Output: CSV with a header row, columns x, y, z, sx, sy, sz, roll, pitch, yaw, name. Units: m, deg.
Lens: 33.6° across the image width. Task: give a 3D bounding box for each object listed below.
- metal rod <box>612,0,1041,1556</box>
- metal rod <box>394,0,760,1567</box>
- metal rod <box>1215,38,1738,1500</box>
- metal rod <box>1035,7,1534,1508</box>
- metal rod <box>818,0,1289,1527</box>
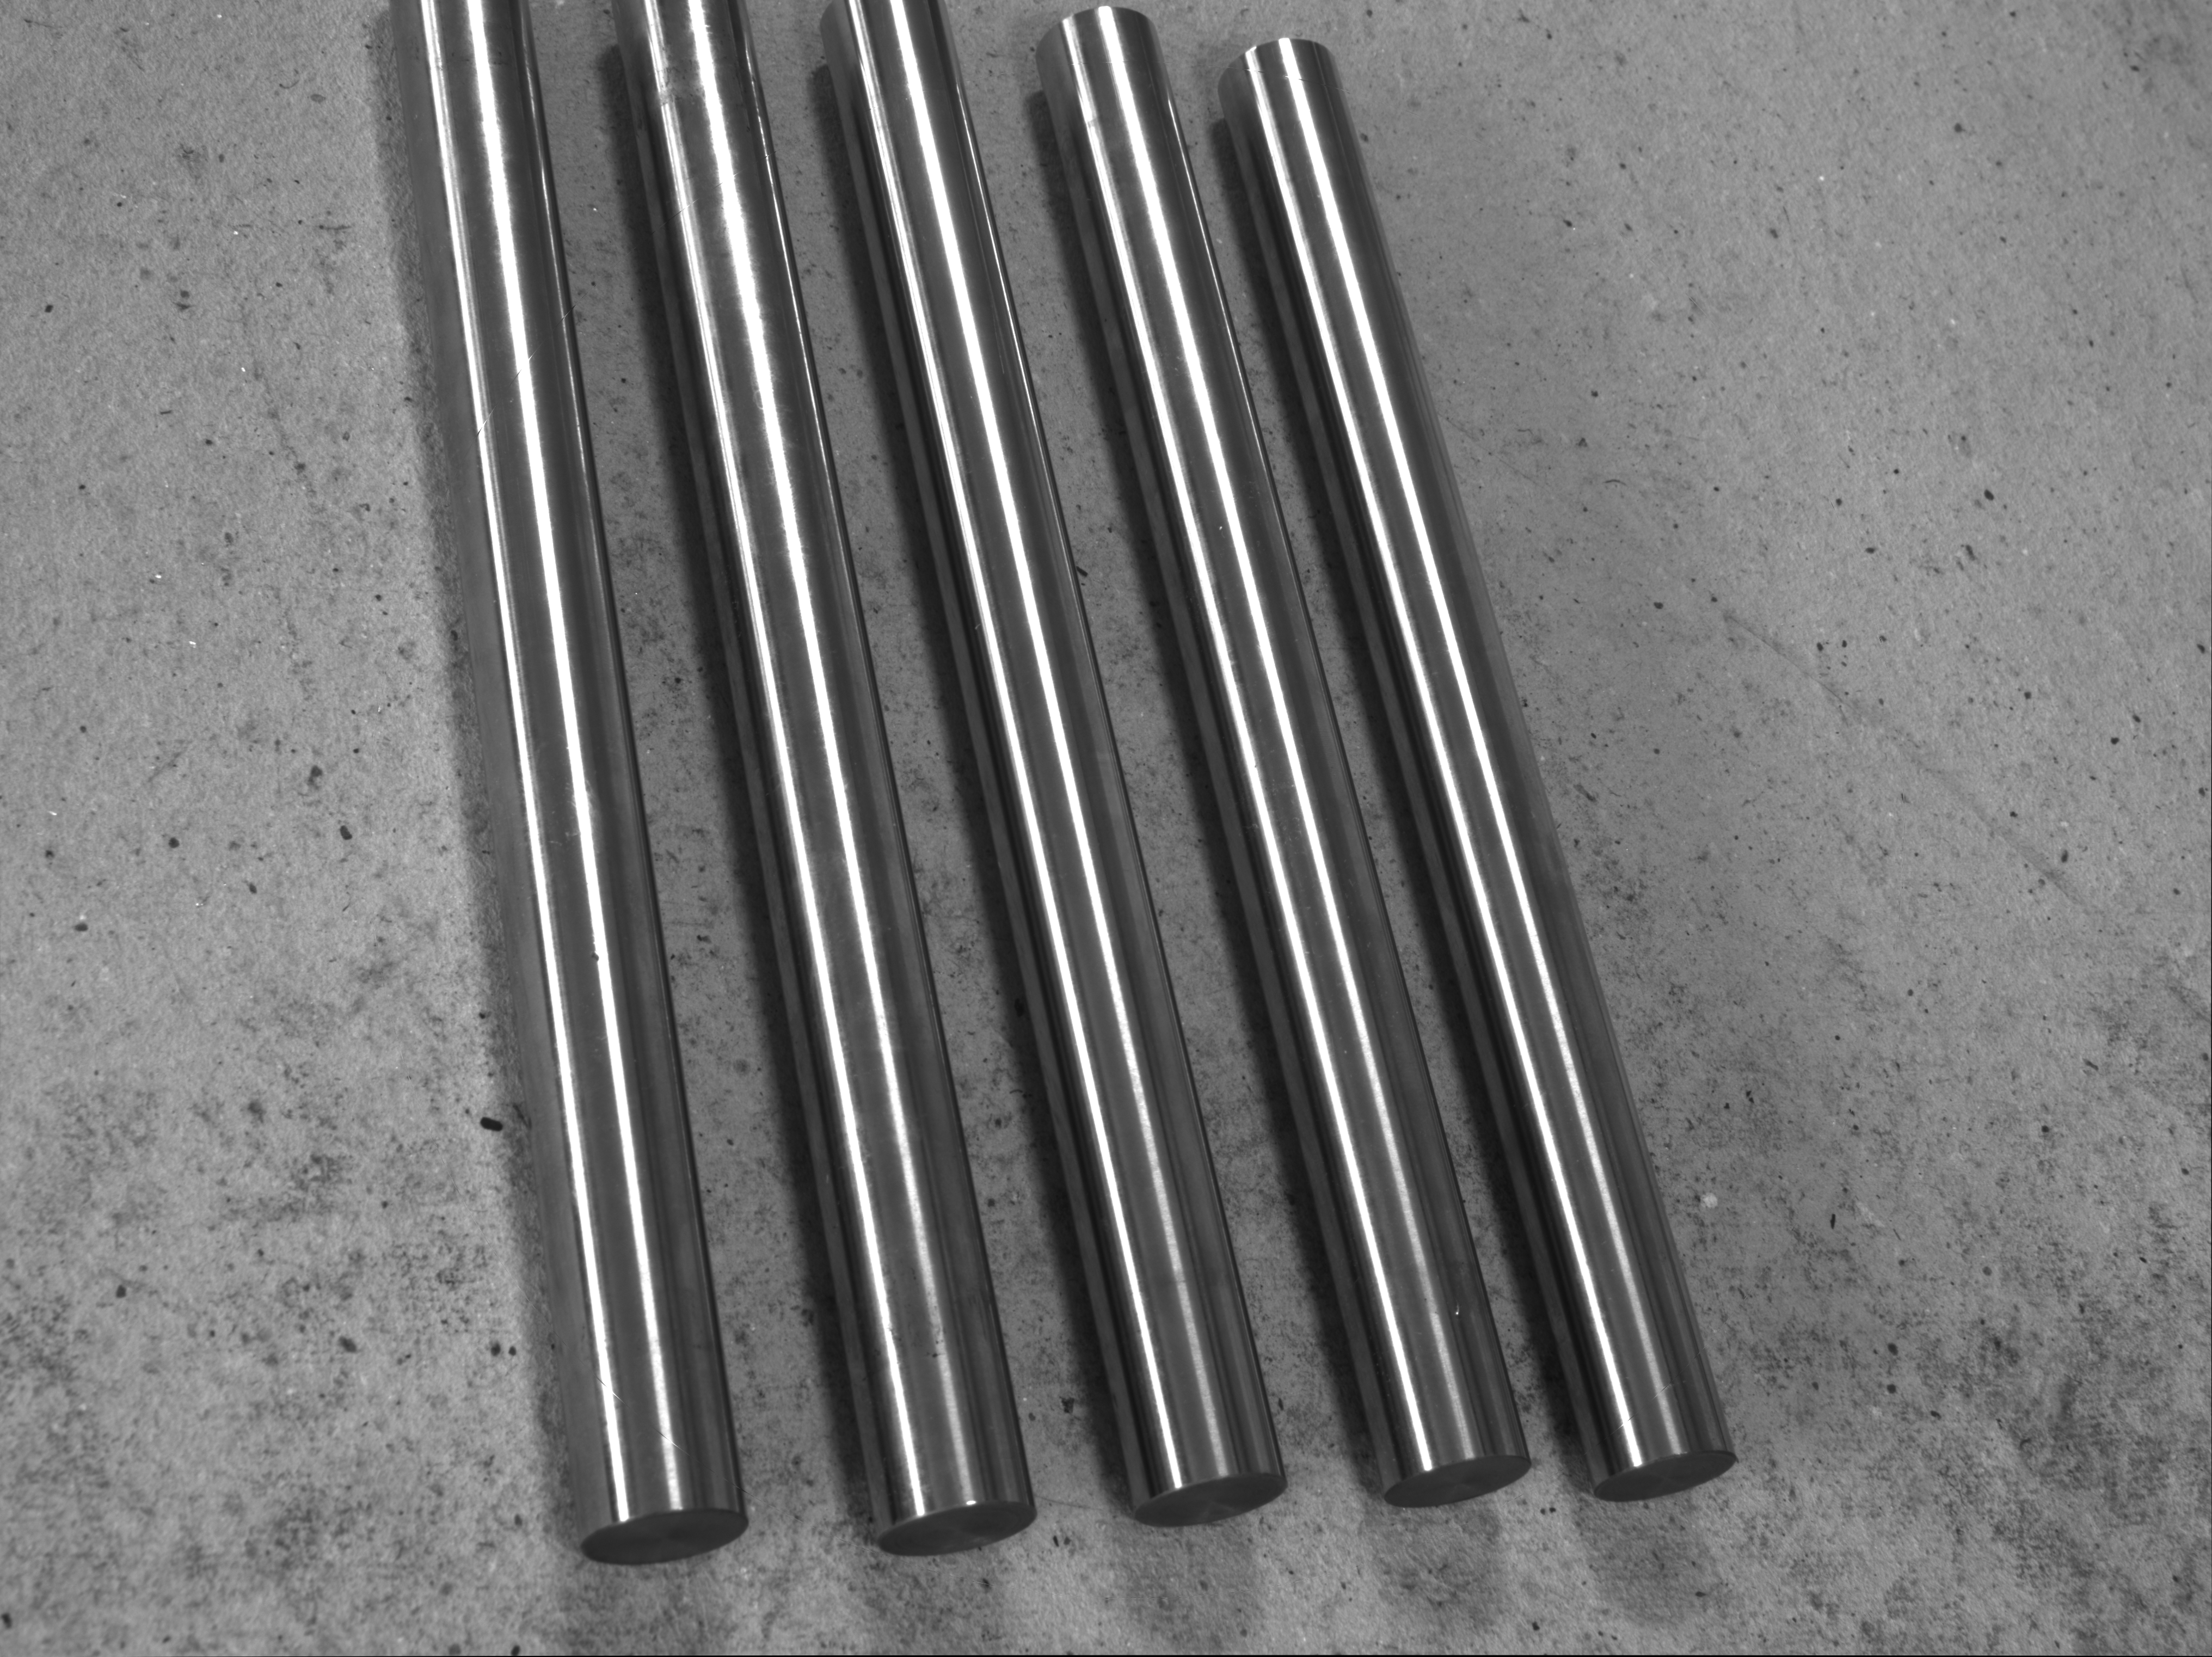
x,y,z,sx,sy,sz,roll,pitch,yaw,name
-0.052,-0.025,0.626,0.025,0.025,0.300,2,61,-27,metal rod
-0.091,-0.027,0.605,0.025,0.025,0.300,3,60,-27,metal rod
0.065,-0.022,0.687,0.025,0.025,0.300,1,61,-27,metal rod
0.028,-0.024,0.669,0.025,0.025,0.300,1,61,-27,metal rod
-0.013,-0.025,0.647,0.025,0.025,0.300,1,61,-27,metal rod
